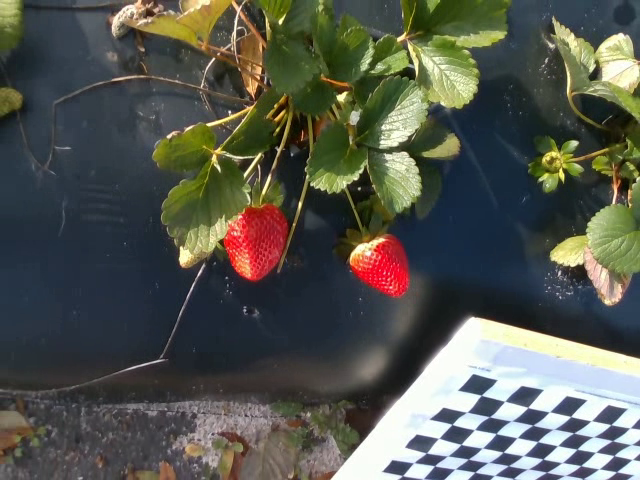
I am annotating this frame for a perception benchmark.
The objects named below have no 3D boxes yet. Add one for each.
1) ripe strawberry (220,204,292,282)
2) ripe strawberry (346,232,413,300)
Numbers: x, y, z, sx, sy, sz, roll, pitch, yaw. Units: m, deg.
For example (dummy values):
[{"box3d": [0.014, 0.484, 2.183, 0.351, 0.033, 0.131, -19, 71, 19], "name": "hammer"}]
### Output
[{"box3d": [-0.031, 0.002, 0.275, 0.035, 0.036, 0.041, 6, -25, -4], "name": "ripe strawberry"}, {"box3d": [0.034, 0.016, 0.296, 0.033, 0.039, 0.037, 8, -36, -37], "name": "ripe strawberry"}]
